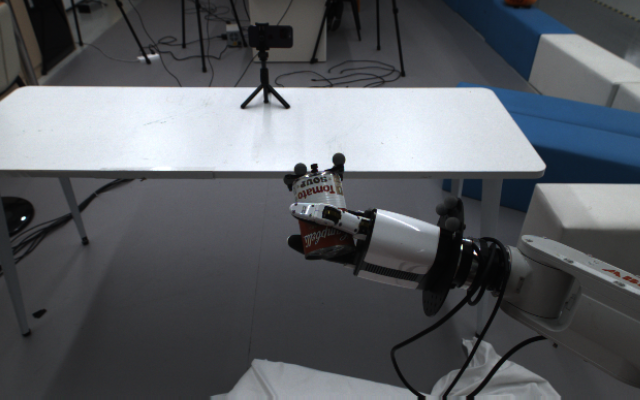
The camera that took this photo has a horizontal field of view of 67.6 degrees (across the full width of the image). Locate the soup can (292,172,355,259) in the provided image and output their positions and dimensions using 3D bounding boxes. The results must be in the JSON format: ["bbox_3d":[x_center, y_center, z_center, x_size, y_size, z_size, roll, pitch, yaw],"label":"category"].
[{"bbox_3d":[0.005,0.021,0.636,0.067,0.067,0.101,-8,74,-14],"label":"soup can"}]
